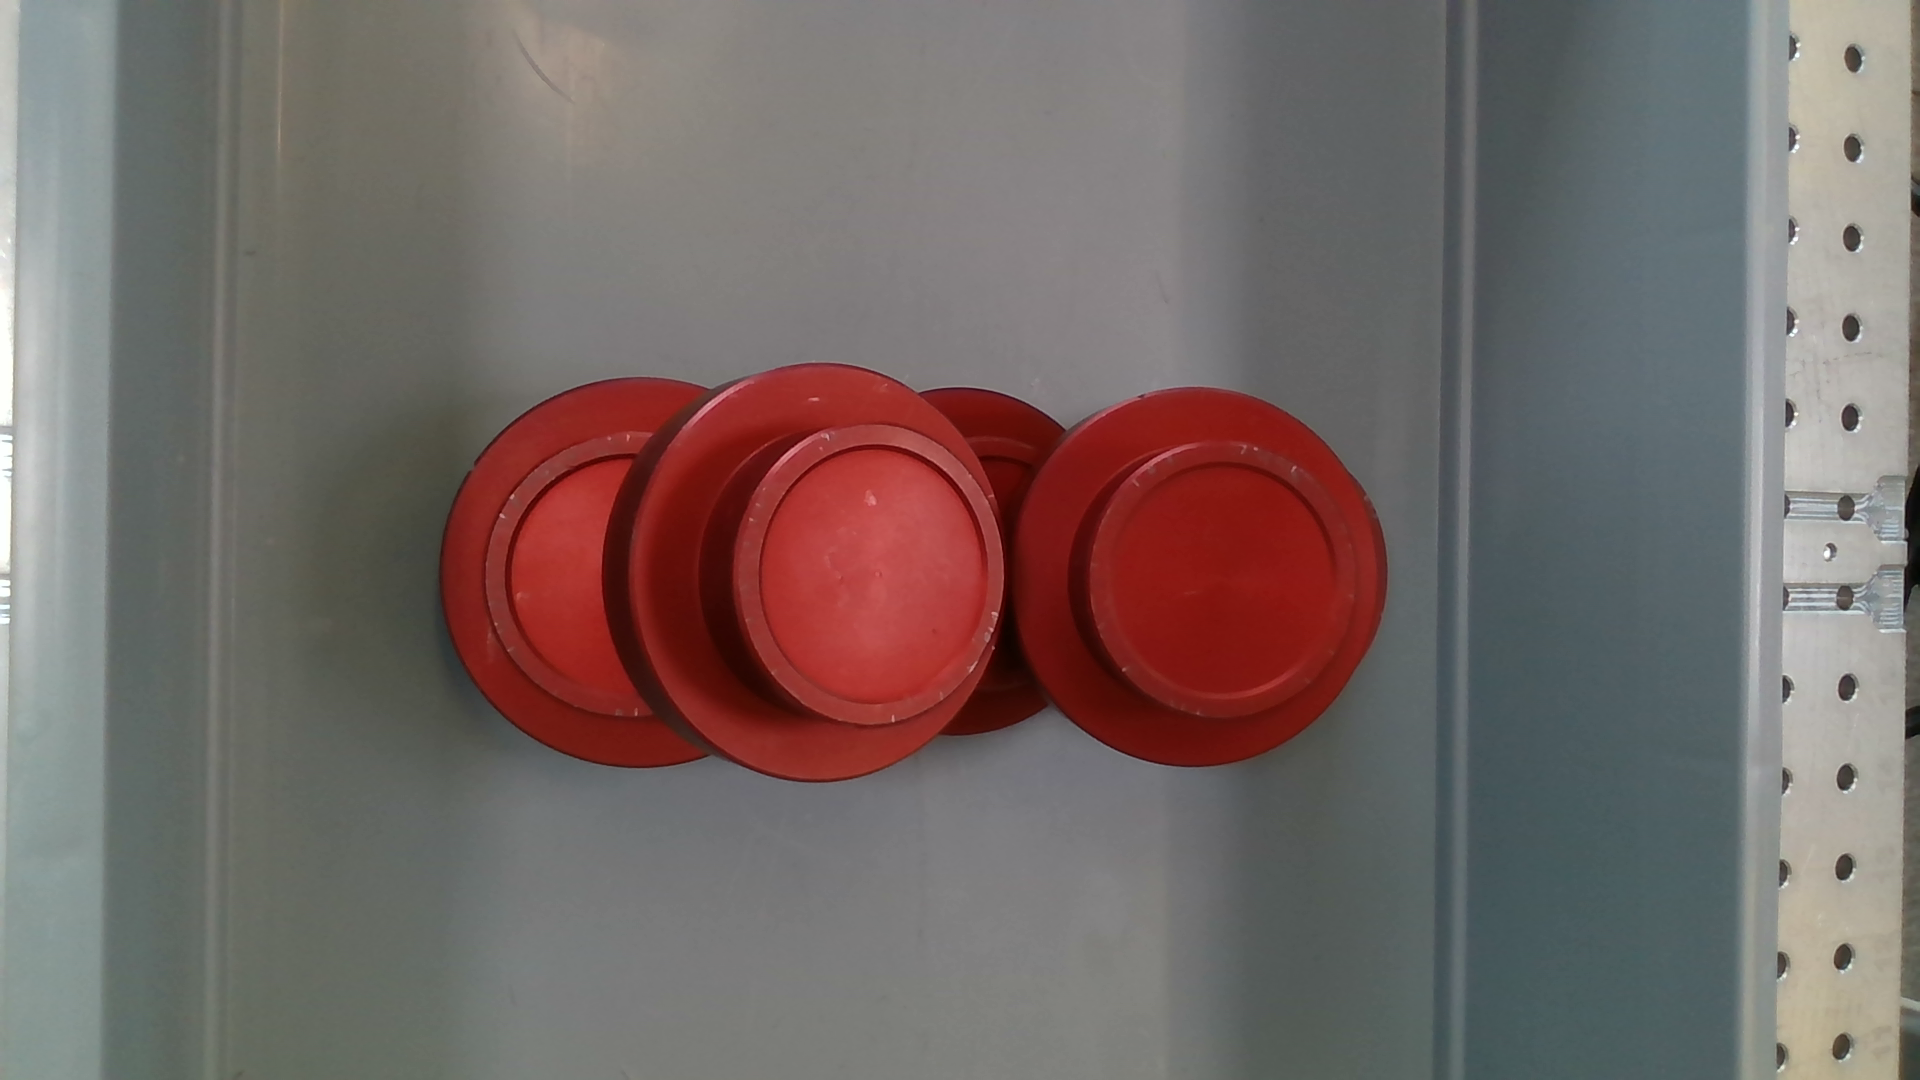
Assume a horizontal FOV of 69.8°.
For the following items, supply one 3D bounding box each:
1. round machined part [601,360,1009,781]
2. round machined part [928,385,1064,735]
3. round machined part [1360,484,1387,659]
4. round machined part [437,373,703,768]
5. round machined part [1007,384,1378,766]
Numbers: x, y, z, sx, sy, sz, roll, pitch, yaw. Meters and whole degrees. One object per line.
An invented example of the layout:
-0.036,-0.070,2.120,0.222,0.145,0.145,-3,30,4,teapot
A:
-0.029,0.007,0.319,0.098,0.042,0.098,0,90,-31,round machined part
0.002,0.006,0.385,0.098,0.042,0.098,0,90,-21,round machined part
0.087,0.009,0.404,0.098,0.042,0.098,0,90,-36,round machined part
-0.079,0.008,0.340,0.098,0.042,0.098,0,90,-5,round machined part
0.061,0.009,0.352,0.098,0.042,0.098,0,90,-8,round machined part
